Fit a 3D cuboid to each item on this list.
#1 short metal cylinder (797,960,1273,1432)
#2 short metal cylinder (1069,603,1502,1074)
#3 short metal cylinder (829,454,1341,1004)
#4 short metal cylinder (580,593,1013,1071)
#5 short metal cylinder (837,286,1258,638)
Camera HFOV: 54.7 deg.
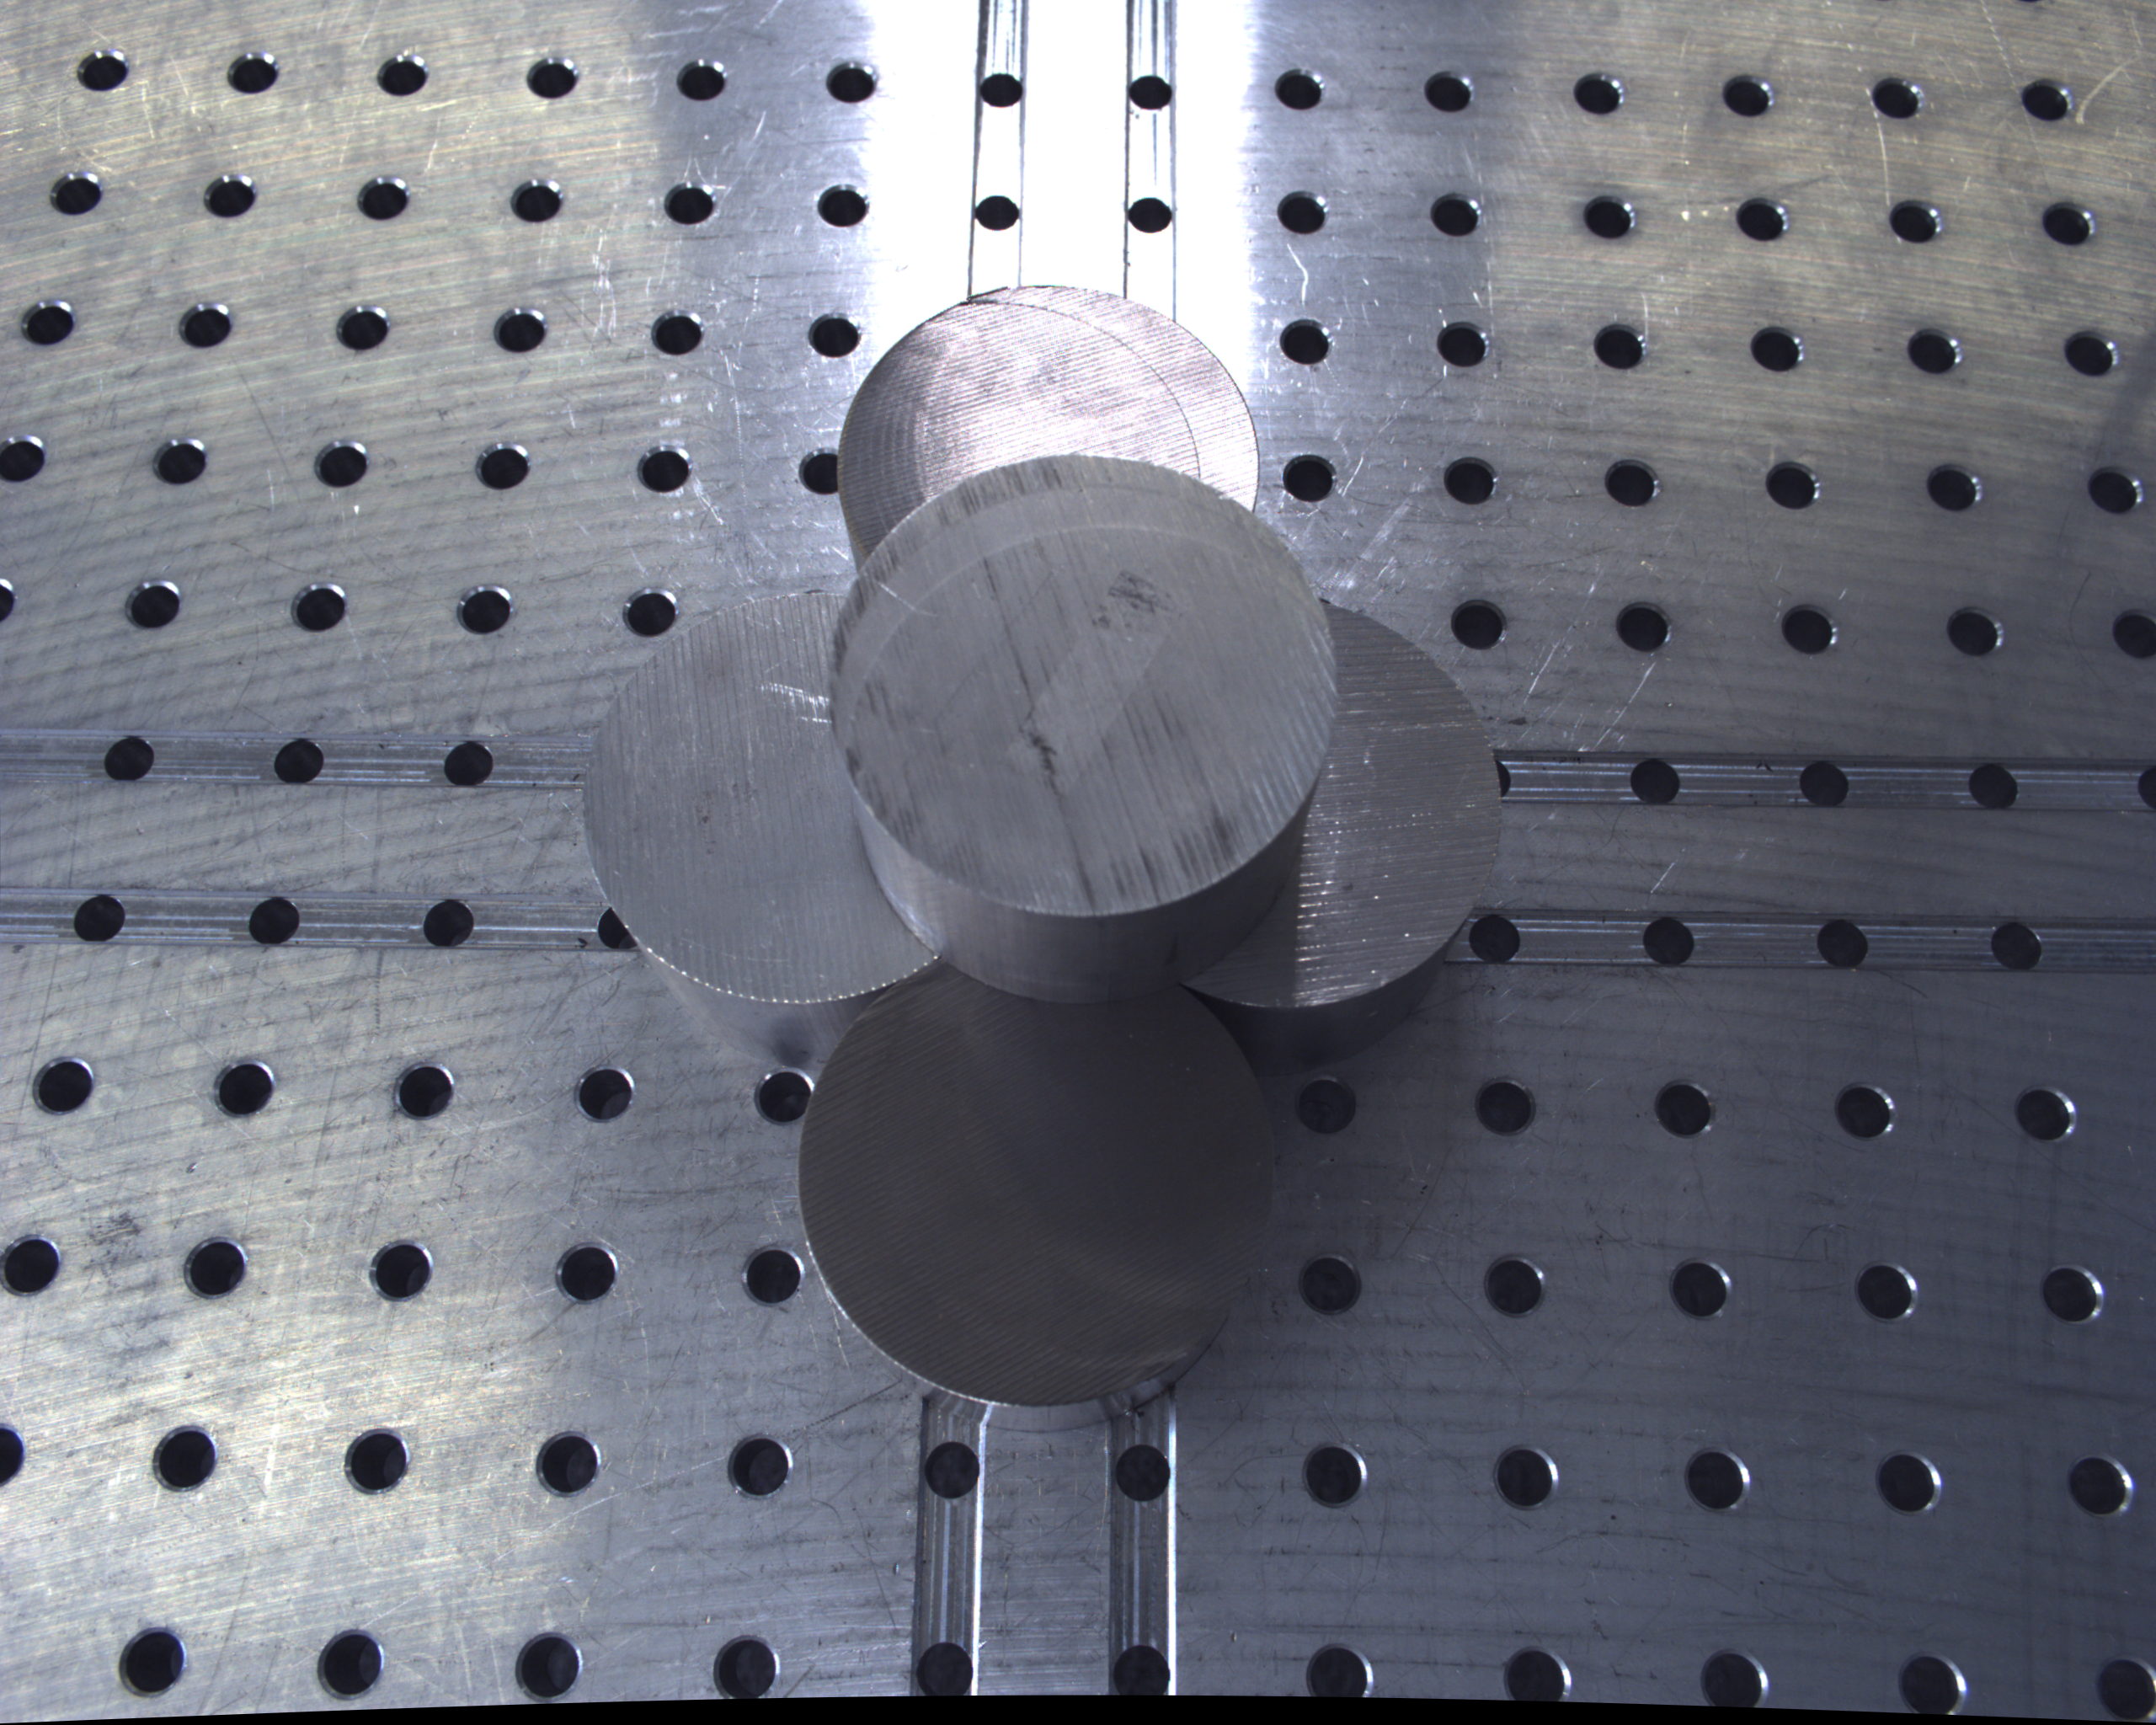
[{"bbox_3d":[-0.007,0.060,0.376,0.081,0.050,0.080,0,68,0],"label":"short metal cylinder"},{"bbox_3d":[0.036,-0.004,0.399,0.081,0.050,0.080,0,70,0],"label":"short metal cylinder"},{"bbox_3d":[0.001,-0.021,0.352,0.081,0.050,0.080,0,70,0],"label":"short metal cylinder"},{"bbox_3d":[-0.049,-0.005,0.400,0.081,0.050,0.080,0,70,0],"label":"short metal cylinder"},{"bbox_3d":[-0.006,-0.068,0.423,0.081,0.050,0.080,0,70,-1],"label":"short metal cylinder"}]
